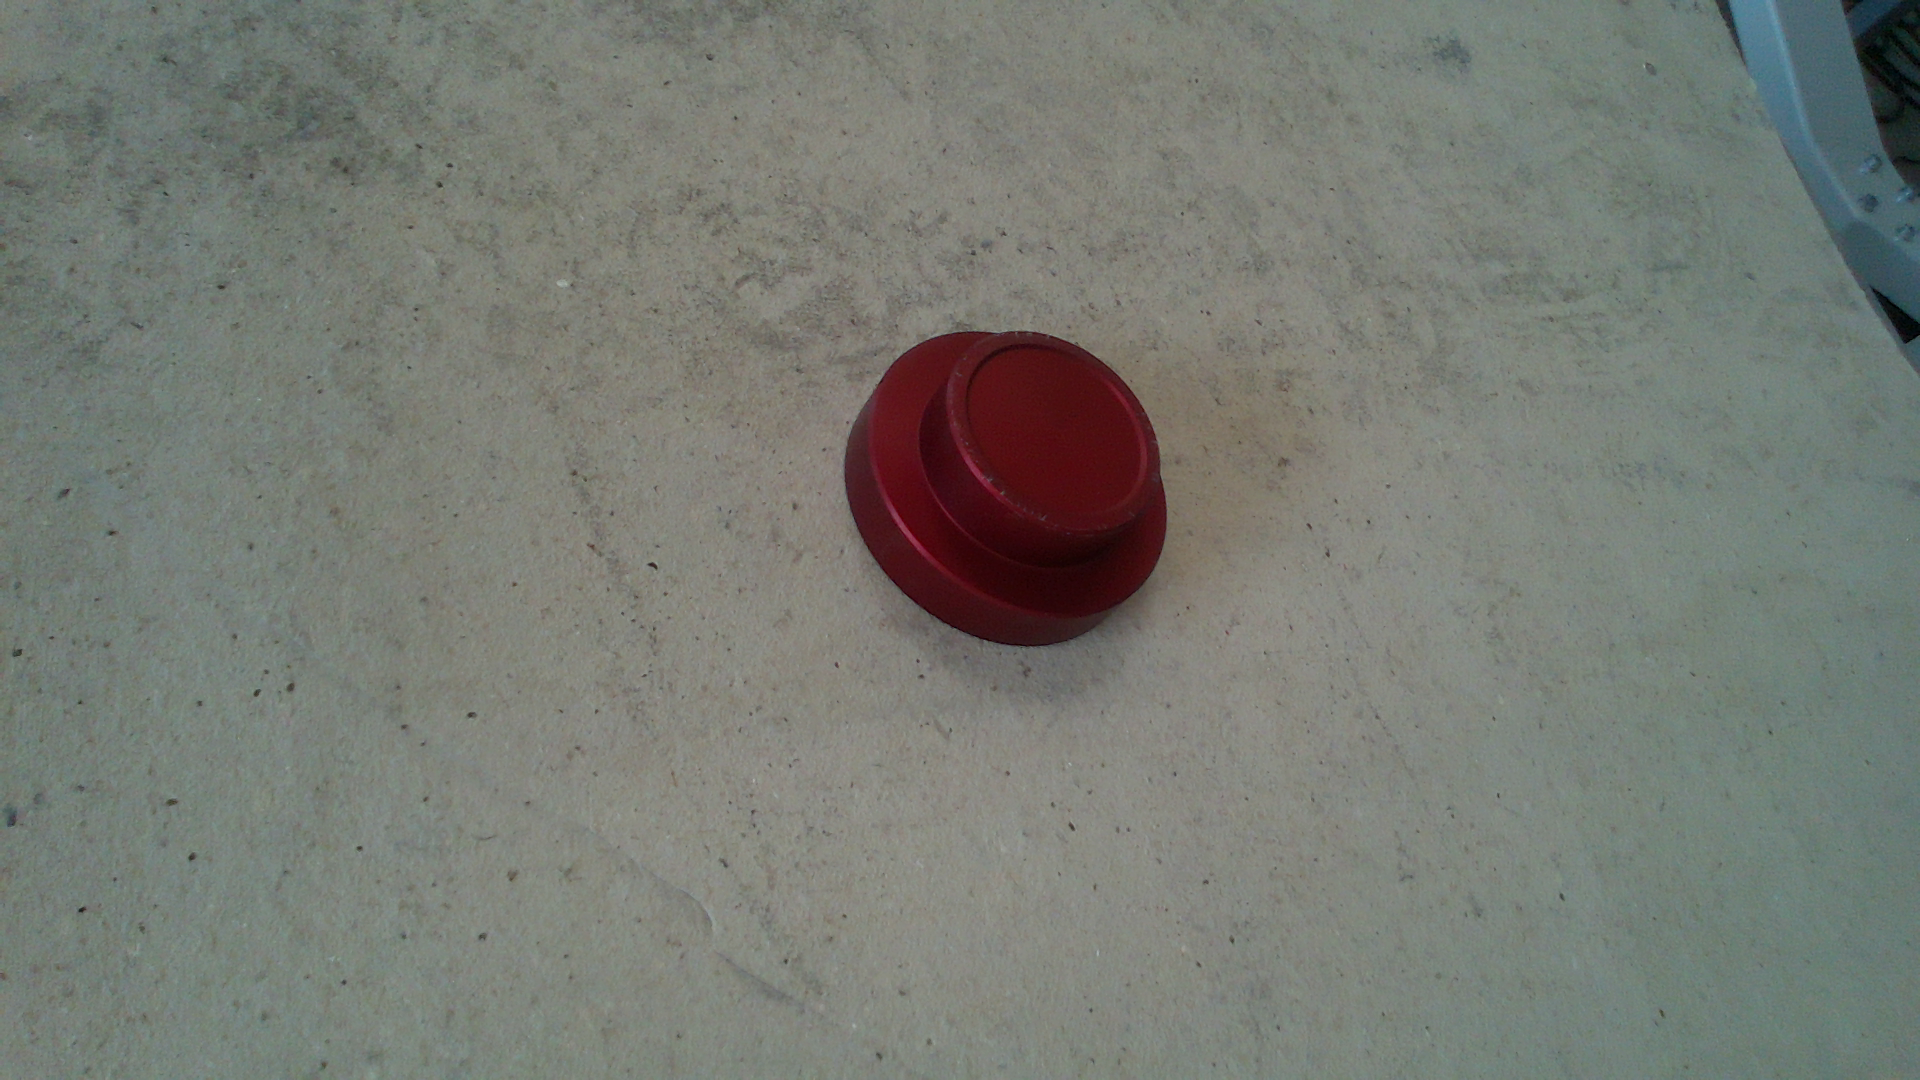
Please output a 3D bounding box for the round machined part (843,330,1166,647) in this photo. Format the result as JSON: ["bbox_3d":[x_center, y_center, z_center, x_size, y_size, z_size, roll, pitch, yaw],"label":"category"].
[{"bbox_3d":[0.019,-0.022,0.403,0.098,0.042,0.098,14,56,-21],"label":"round machined part"}]
